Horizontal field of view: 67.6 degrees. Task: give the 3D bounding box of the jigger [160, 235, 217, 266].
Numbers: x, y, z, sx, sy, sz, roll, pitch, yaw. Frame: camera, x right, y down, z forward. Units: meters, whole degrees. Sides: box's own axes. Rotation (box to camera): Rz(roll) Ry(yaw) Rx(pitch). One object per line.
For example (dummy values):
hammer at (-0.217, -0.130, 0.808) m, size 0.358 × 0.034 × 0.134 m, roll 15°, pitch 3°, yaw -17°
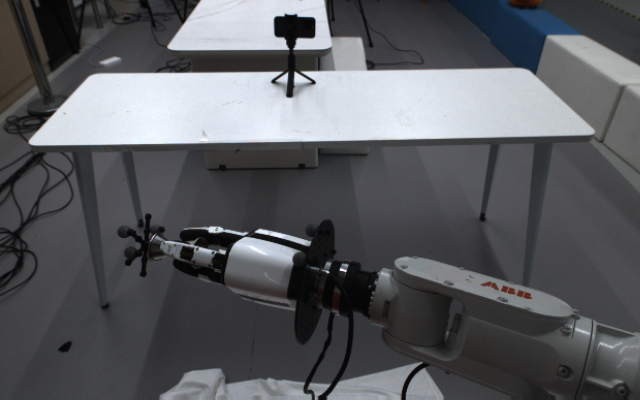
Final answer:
jigger at (-0.187, 0.064, 0.667) m, size 0.071 × 0.043 × 0.043 m, roll 5°, pitch 34°, yaw 15°
